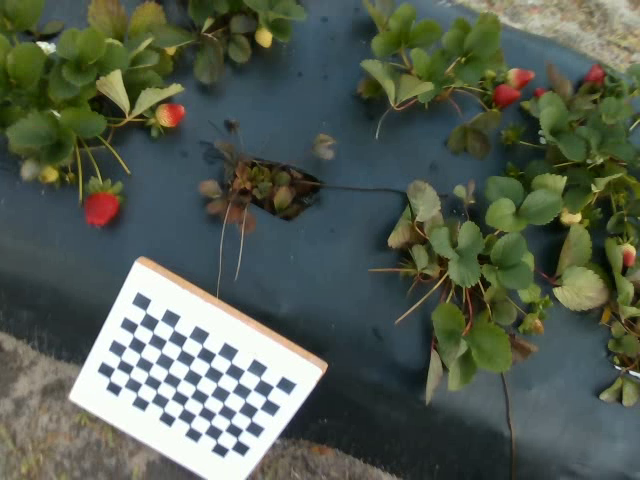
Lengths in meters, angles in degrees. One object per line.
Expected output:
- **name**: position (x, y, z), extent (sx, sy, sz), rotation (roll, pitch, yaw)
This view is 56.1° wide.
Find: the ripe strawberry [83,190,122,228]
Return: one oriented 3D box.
- **ripe strawberry**: position (-0.280, -0.037, 0.752), extent (0.045, 0.055, 0.042), rotation (-15, -48, 22)
